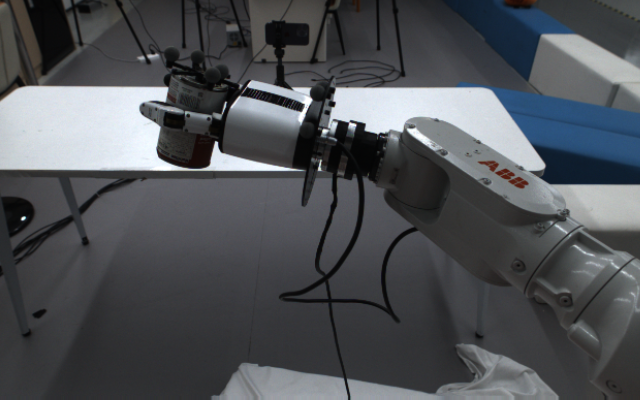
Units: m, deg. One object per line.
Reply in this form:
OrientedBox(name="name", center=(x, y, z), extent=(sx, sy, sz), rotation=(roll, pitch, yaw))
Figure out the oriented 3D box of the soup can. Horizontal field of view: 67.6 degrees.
OrientedBox(name="soup can", center=(-0.154, -0.096, 0.584), extent=(0.067, 0.101, 0.067), rotation=(17, 22, -7))
